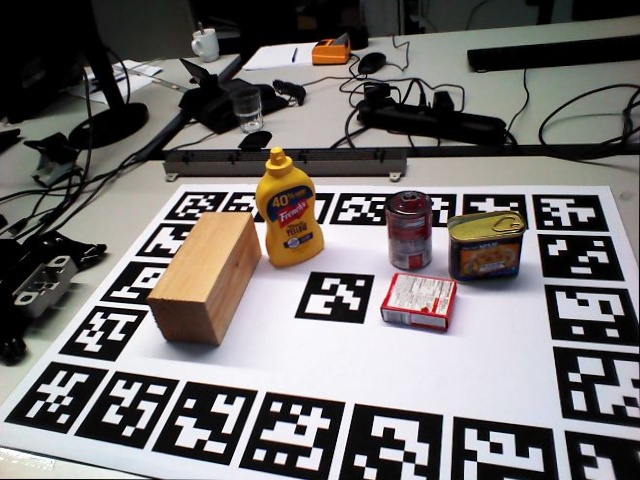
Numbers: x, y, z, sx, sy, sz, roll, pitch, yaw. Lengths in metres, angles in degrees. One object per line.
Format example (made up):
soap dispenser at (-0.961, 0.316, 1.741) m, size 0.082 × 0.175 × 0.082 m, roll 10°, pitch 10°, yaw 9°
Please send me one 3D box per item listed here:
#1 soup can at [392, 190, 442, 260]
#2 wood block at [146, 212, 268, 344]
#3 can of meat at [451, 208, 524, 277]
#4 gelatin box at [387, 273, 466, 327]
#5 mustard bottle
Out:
soup can at (0.145, -0.028, 0.767) m, size 0.068 × 0.102 × 0.067 m, roll -8°, pitch 38°, yaw 6°
wood block at (-0.160, 0.048, 0.776) m, size 0.091 × 0.090 × 0.205 m, roll 3°, pitch 35°, yaw 16°
can of meat at (0.237, 0.002, 0.733) m, size 0.102 × 0.084 × 0.057 m, roll -6°, pitch 38°, yaw 4°
gelatin box at (0.145, 0.076, 0.698) m, size 0.090 × 0.030 × 0.073 m, roll 6°, pitch 42°, yaw 26°
mustard bottle at (-0.048, -0.052, 0.799) m, size 0.096 × 0.192 × 0.058 m, roll -14°, pitch 36°, yaw -5°
